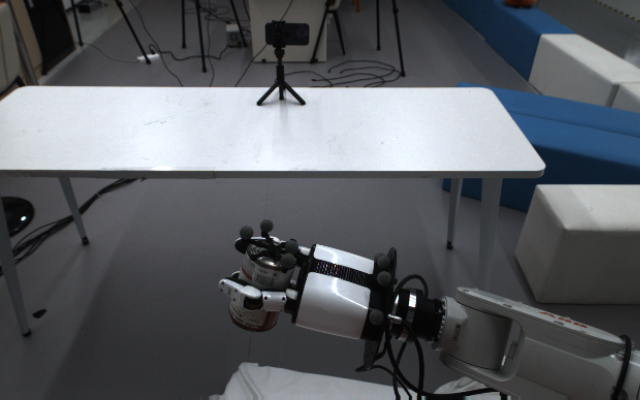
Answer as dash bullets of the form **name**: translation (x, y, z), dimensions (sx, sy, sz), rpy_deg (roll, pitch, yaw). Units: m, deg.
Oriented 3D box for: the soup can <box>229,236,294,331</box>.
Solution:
- **soup can**: translation (-0.074, 0.112, 0.632), dimensions (0.067, 0.101, 0.067), rpy_deg (17, 21, -7)
